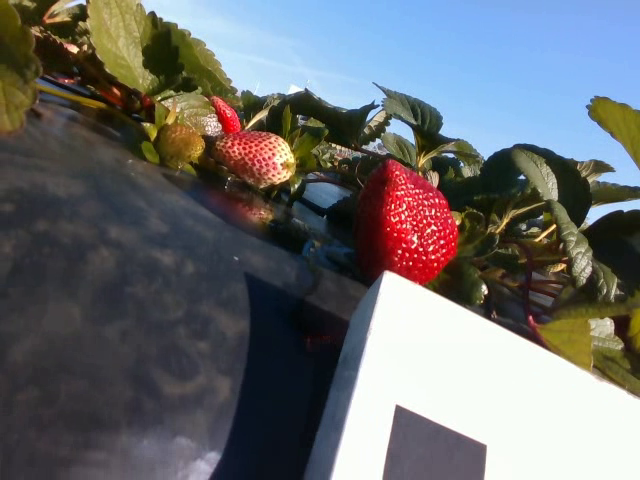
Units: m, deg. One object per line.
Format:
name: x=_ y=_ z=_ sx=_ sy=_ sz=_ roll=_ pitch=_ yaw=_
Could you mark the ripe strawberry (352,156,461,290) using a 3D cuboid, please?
ripe strawberry: x=0.026 y=-0.006 z=0.217 sx=0.058 sy=0.066 sz=0.062 roll=-25 pitch=-25 yaw=-12
